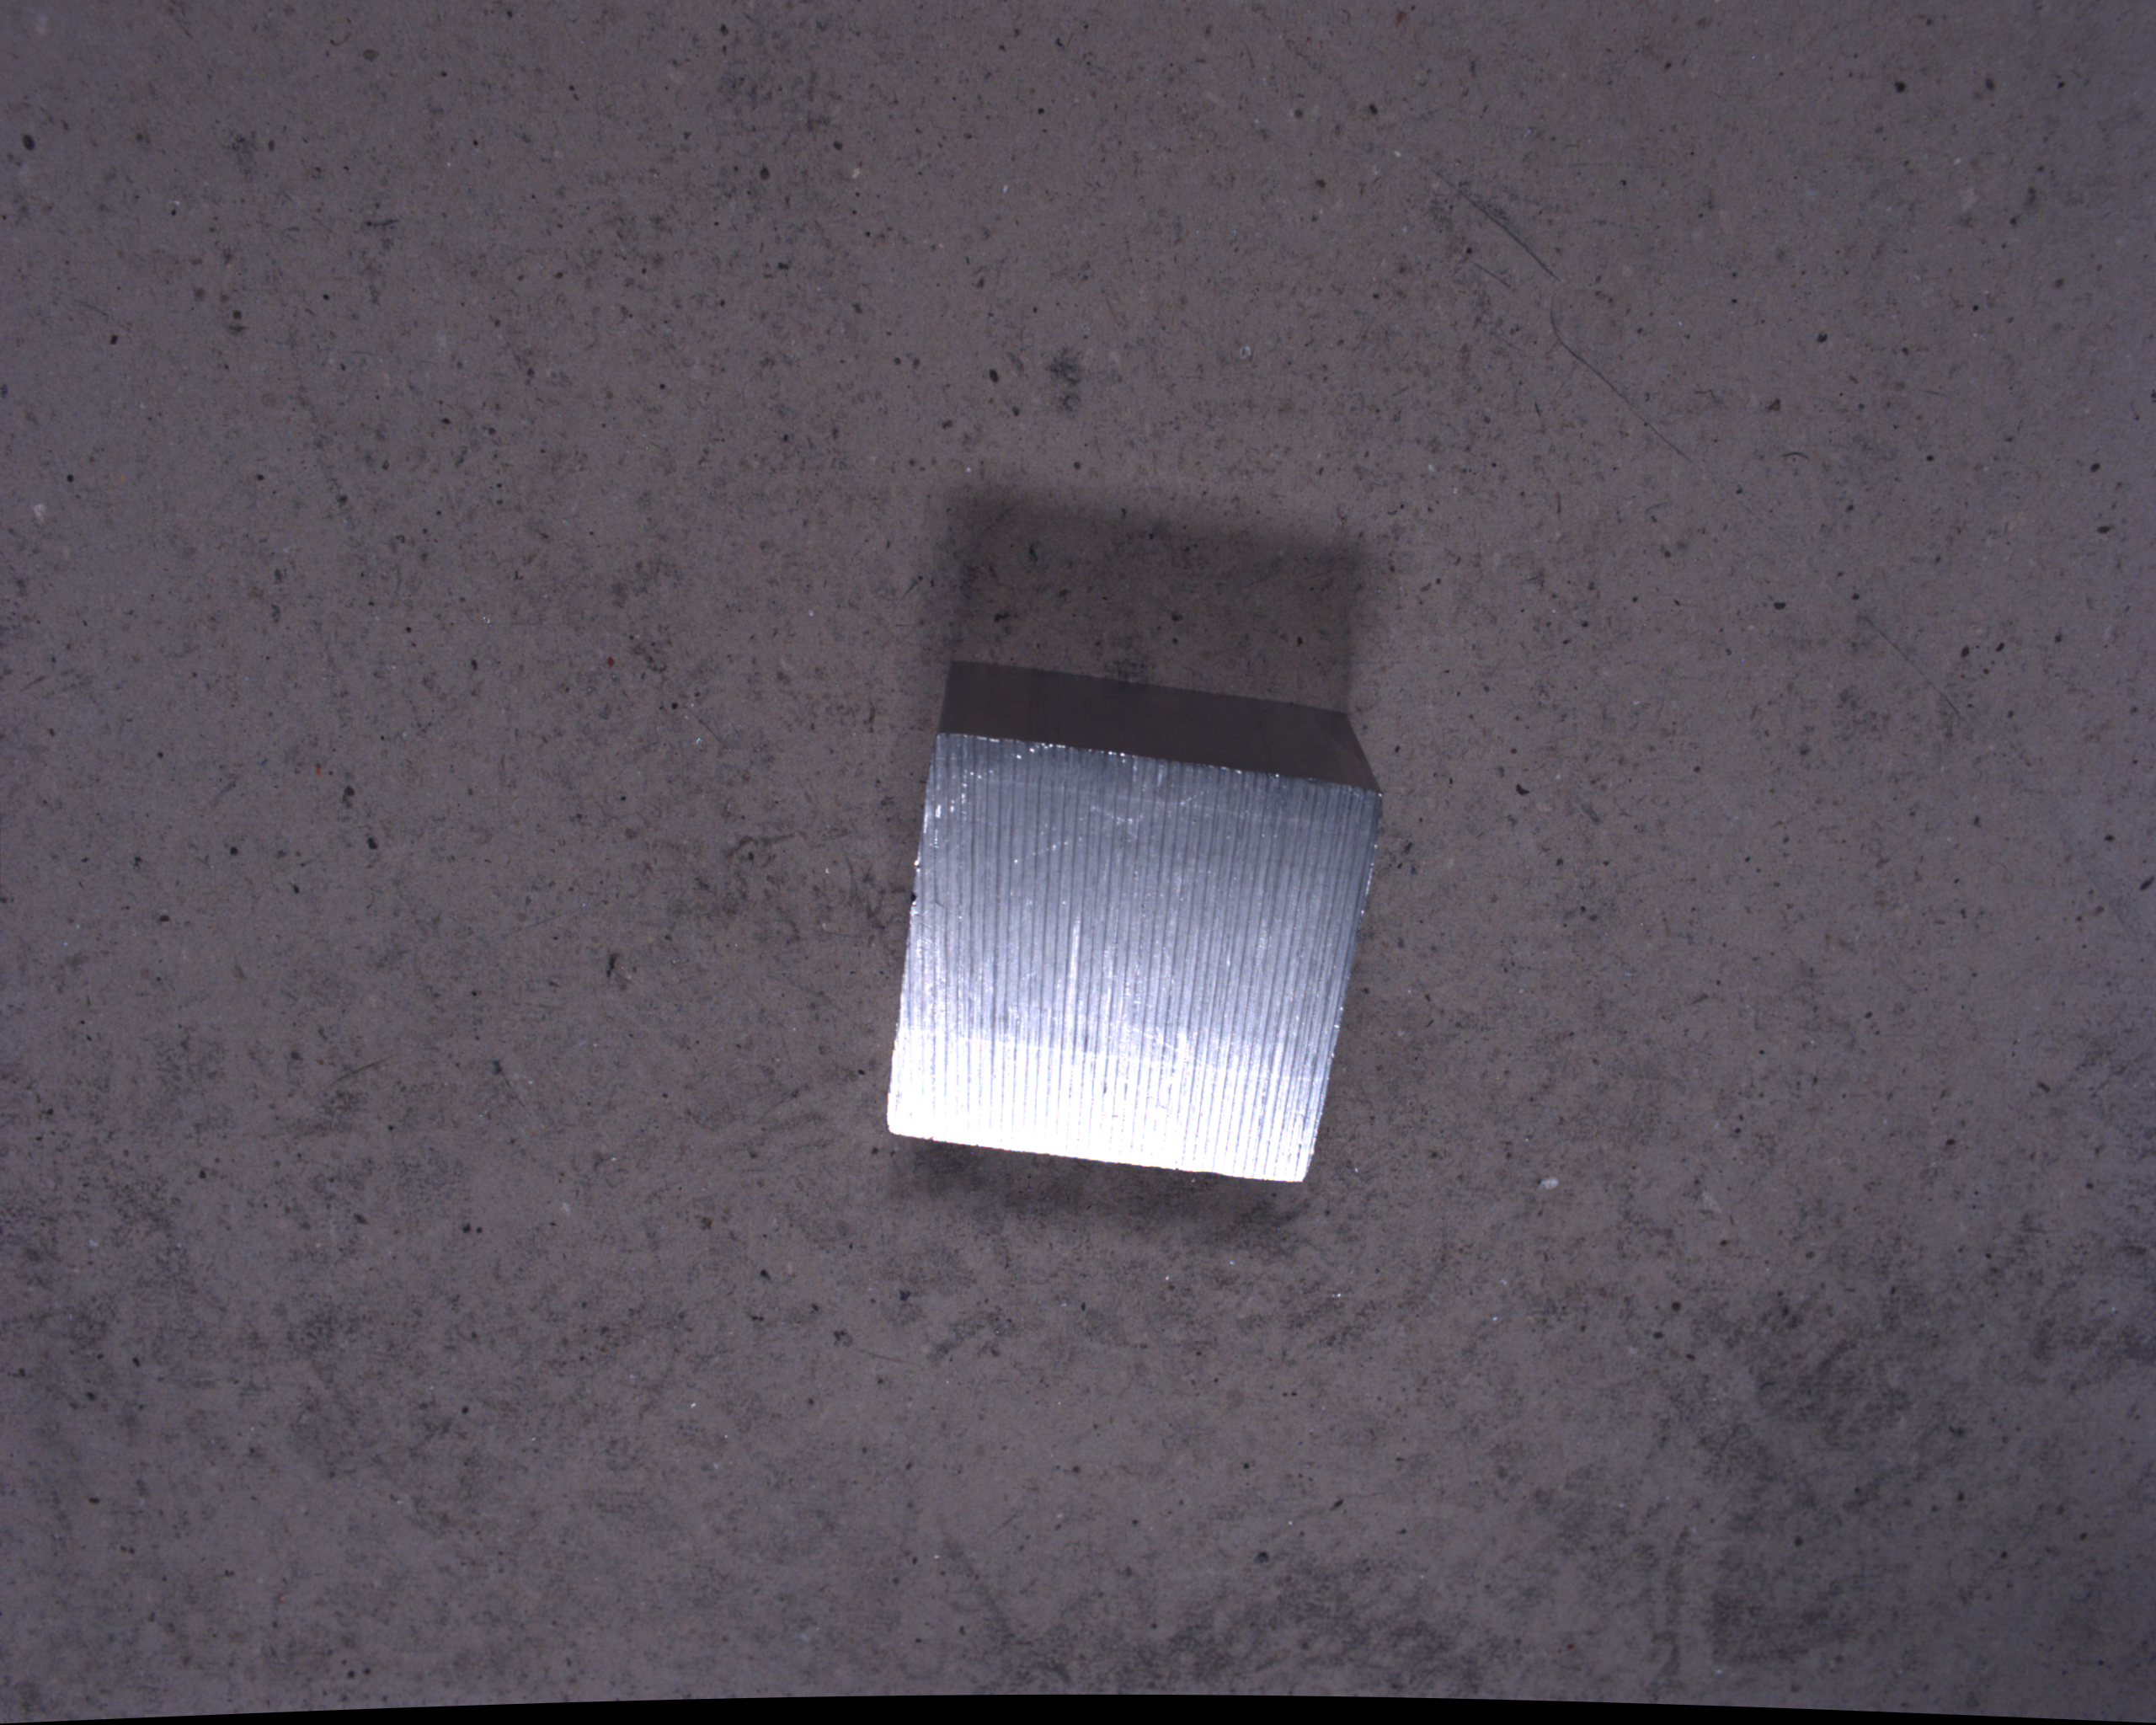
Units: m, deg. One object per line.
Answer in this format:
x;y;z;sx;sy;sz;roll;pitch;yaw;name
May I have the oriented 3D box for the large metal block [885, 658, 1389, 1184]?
0.009;0.010;0.402;0.081;0.050;0.079;7;110;-3;large metal block
